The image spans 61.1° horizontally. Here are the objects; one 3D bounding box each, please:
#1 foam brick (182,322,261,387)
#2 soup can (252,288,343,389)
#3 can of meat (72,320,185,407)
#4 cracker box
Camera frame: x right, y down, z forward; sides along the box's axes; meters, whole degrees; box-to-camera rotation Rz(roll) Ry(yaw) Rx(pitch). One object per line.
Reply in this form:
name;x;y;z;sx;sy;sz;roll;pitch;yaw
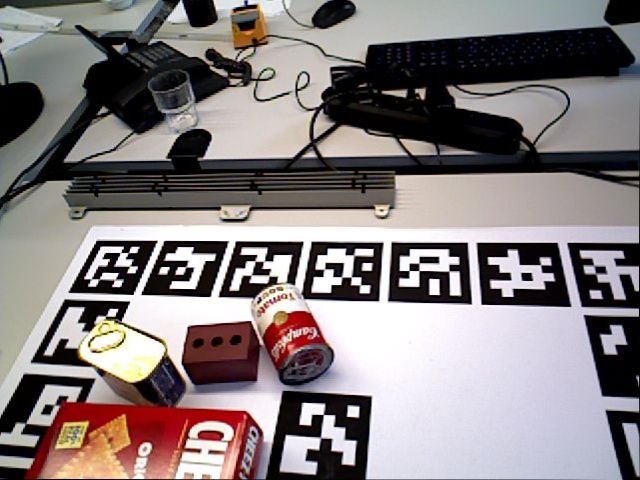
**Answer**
foam brick;-0.111;0.132;0.625;0.078;0.052;0.052;-8;49;4
soup can;-0.028;0.110;0.625;0.067;0.069;0.101;-29;45;-14
can of meat;-0.211;0.144;0.610;0.102;0.085;0.056;11;53;19
cracker box;-0.176;0.244;0.507;0.214;0.073;0.161;-7;48;11
